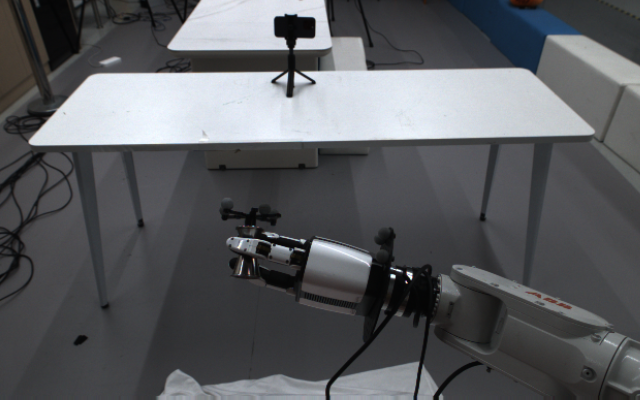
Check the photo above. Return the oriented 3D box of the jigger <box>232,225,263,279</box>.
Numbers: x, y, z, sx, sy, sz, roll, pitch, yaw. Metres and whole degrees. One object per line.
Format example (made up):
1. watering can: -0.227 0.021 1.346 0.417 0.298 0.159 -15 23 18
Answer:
1. jigger: -0.099 0.072 0.661 0.043 0.043 0.071 3 76 1
